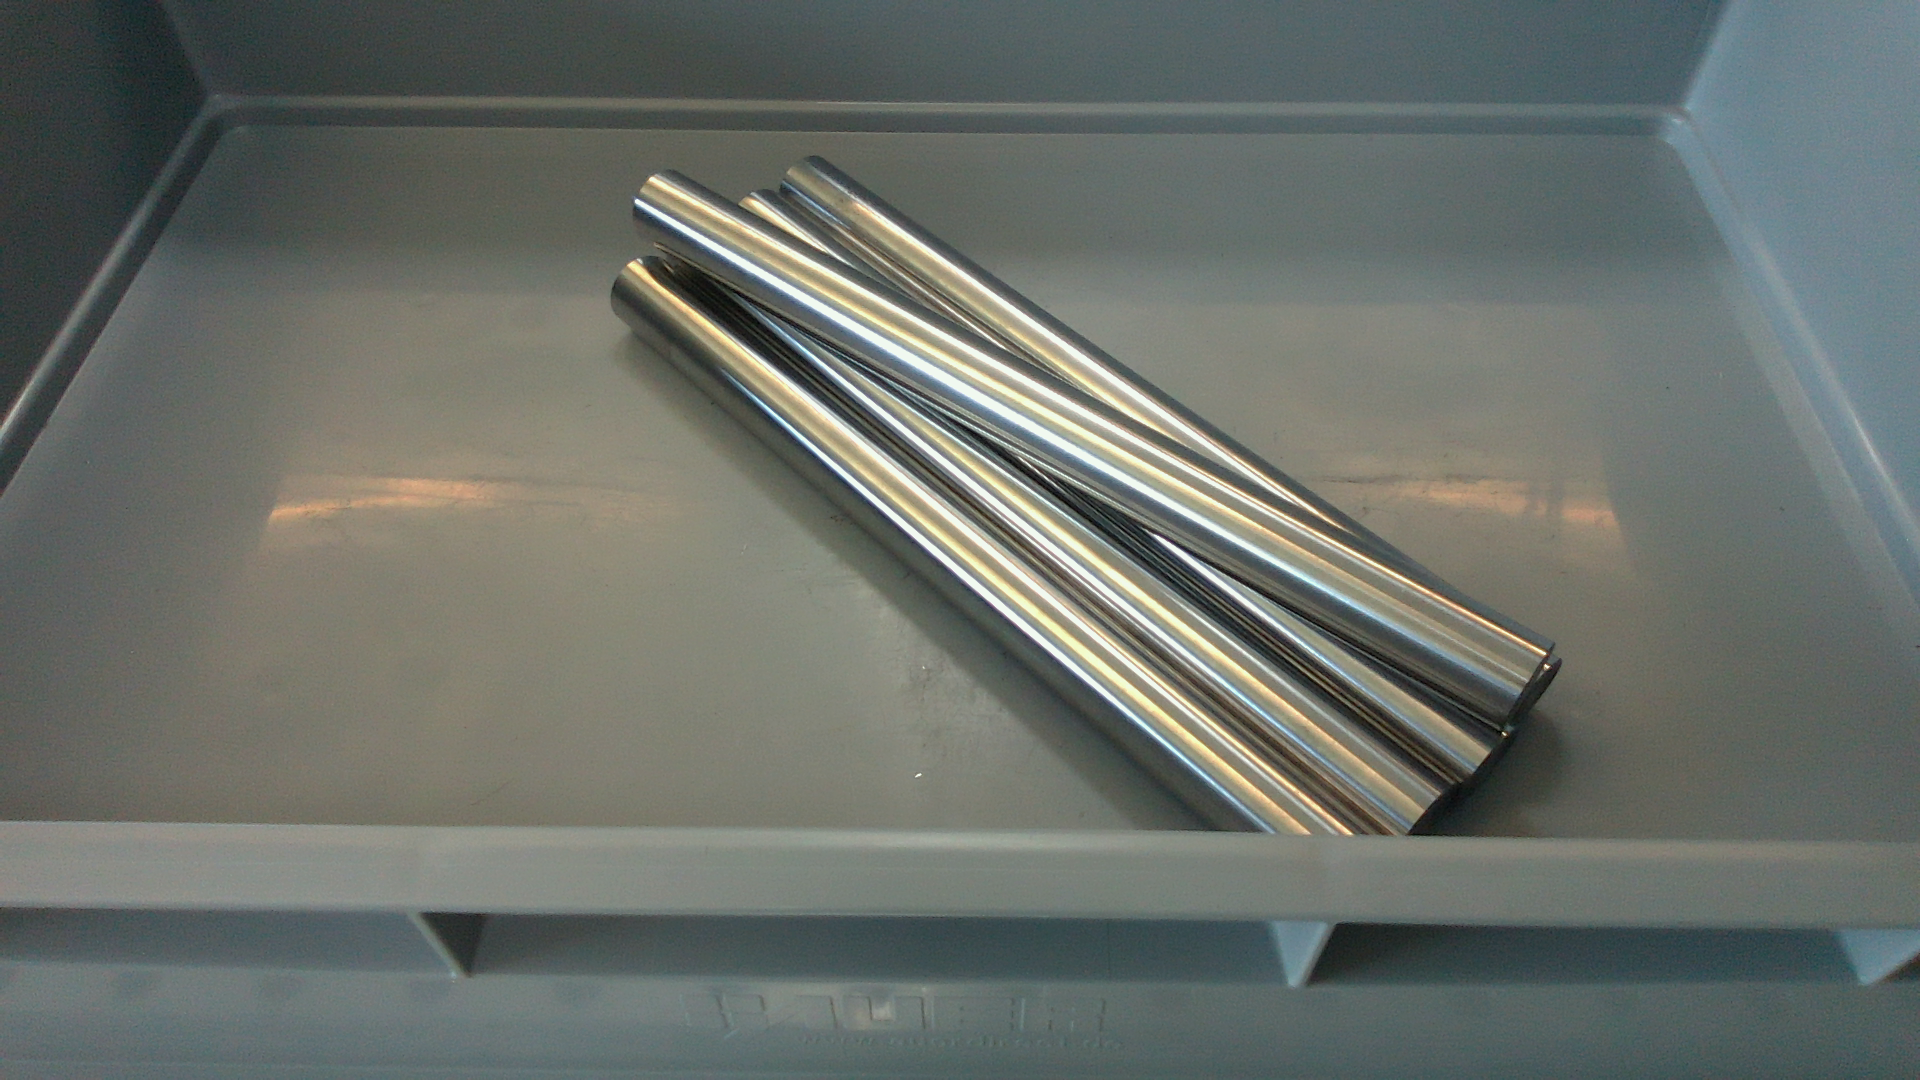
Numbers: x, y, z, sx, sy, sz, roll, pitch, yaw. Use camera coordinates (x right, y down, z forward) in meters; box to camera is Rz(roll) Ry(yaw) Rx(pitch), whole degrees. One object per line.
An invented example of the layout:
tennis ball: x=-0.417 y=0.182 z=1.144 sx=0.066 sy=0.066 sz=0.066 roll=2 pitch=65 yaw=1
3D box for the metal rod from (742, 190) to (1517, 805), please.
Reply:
metal rod: x=0.029 y=-0.028 z=0.414 sx=0.025 sy=0.025 sz=0.299 roll=-35 pitch=58 yaw=-26

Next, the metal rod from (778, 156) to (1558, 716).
metal rod: x=0.046 y=-0.043 z=0.427 sx=0.025 sy=0.025 sz=0.299 roll=-35 pitch=58 yaw=-26

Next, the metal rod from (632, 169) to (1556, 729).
metal rod: x=0.019 y=-0.037 z=0.388 sx=0.299 sy=0.025 sz=0.025 roll=32 pitch=57 yaw=24

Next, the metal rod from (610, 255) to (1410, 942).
metal rod: x=-0.005 y=0.000 z=0.390 sx=0.025 sy=0.025 sz=0.299 roll=-35 pitch=58 yaw=-26

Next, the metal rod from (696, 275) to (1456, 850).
metal rod: x=0.011 y=-0.015 z=0.403 sx=0.025 sy=0.025 sz=0.299 roll=-35 pitch=58 yaw=-26
